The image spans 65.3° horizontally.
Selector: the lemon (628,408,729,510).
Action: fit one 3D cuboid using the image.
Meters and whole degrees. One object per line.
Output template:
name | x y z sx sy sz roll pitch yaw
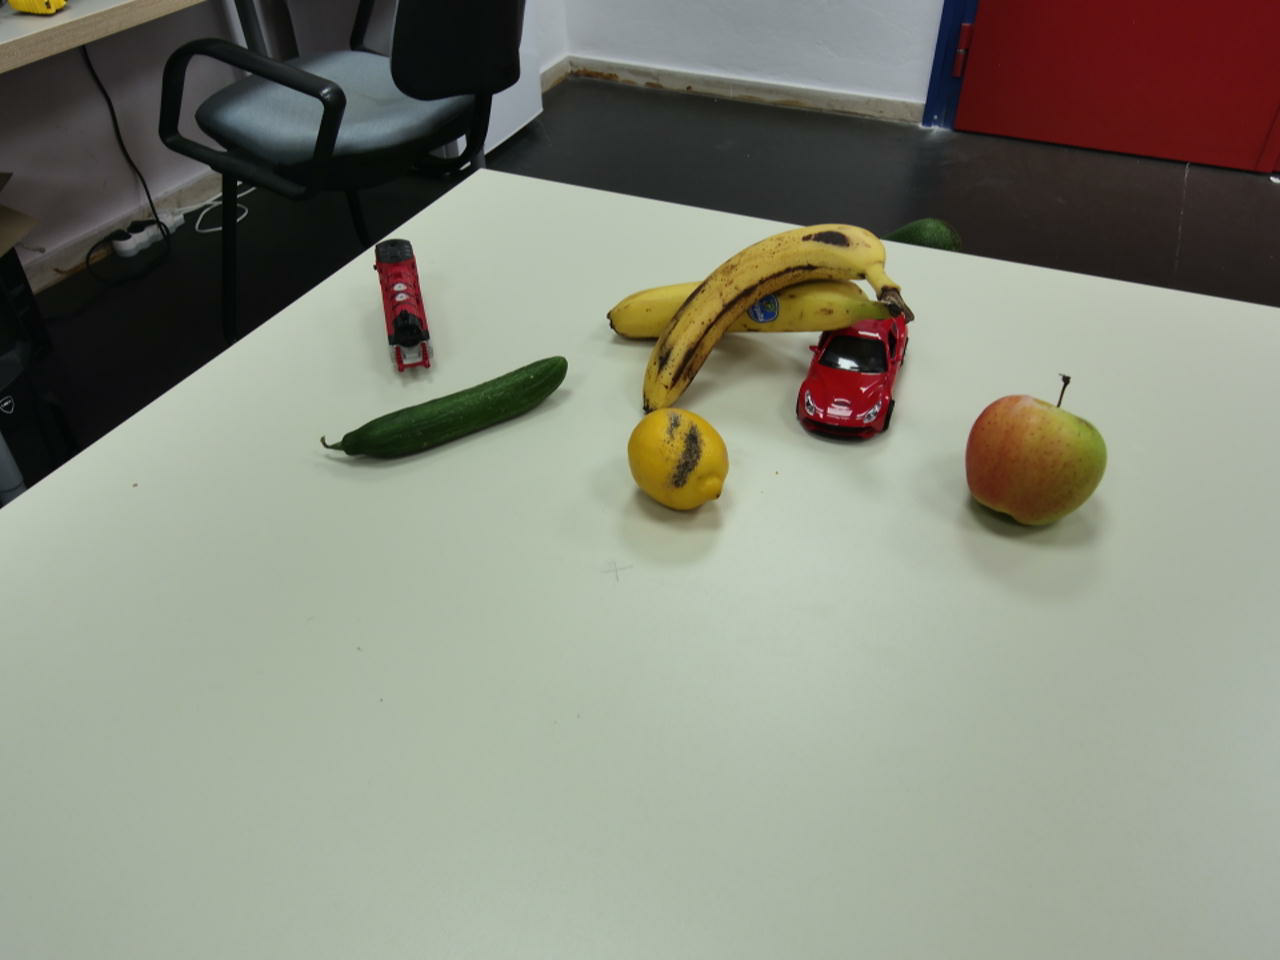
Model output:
lemon | 0.023 -0.013 0.593 0.061 0.056 0.058 10 40 13
